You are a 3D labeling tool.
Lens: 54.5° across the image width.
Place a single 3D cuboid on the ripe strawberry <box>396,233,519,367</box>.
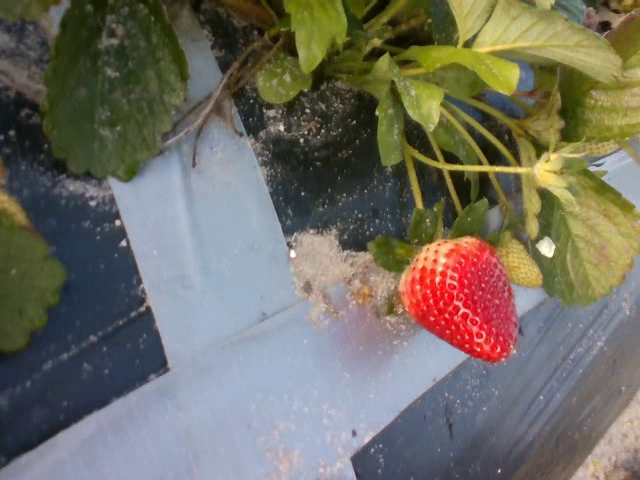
[{"bbox_3d":[0.027,0.011,0.104,0.023,0.026,0.021,-9,-36,-16],"label":"ripe strawberry"}]
